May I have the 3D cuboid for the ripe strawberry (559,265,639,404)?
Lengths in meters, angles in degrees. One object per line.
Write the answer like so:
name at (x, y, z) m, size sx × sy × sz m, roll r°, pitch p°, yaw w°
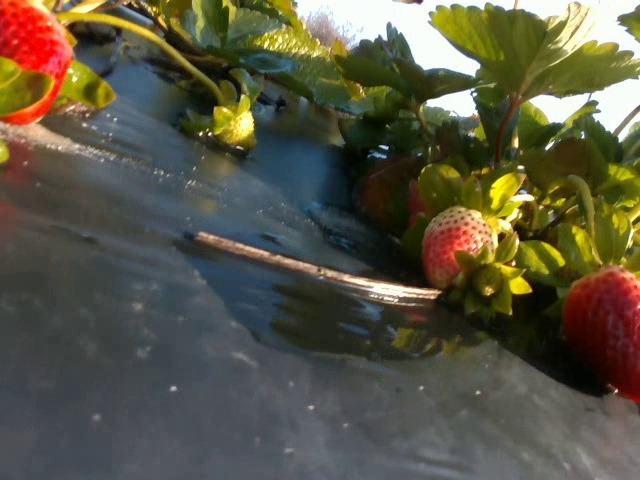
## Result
ripe strawberry at (0.090, 0.026, 0.173) m, size 0.031 × 0.046 × 0.023 m, roll 17°, pitch -47°, yaw -22°
